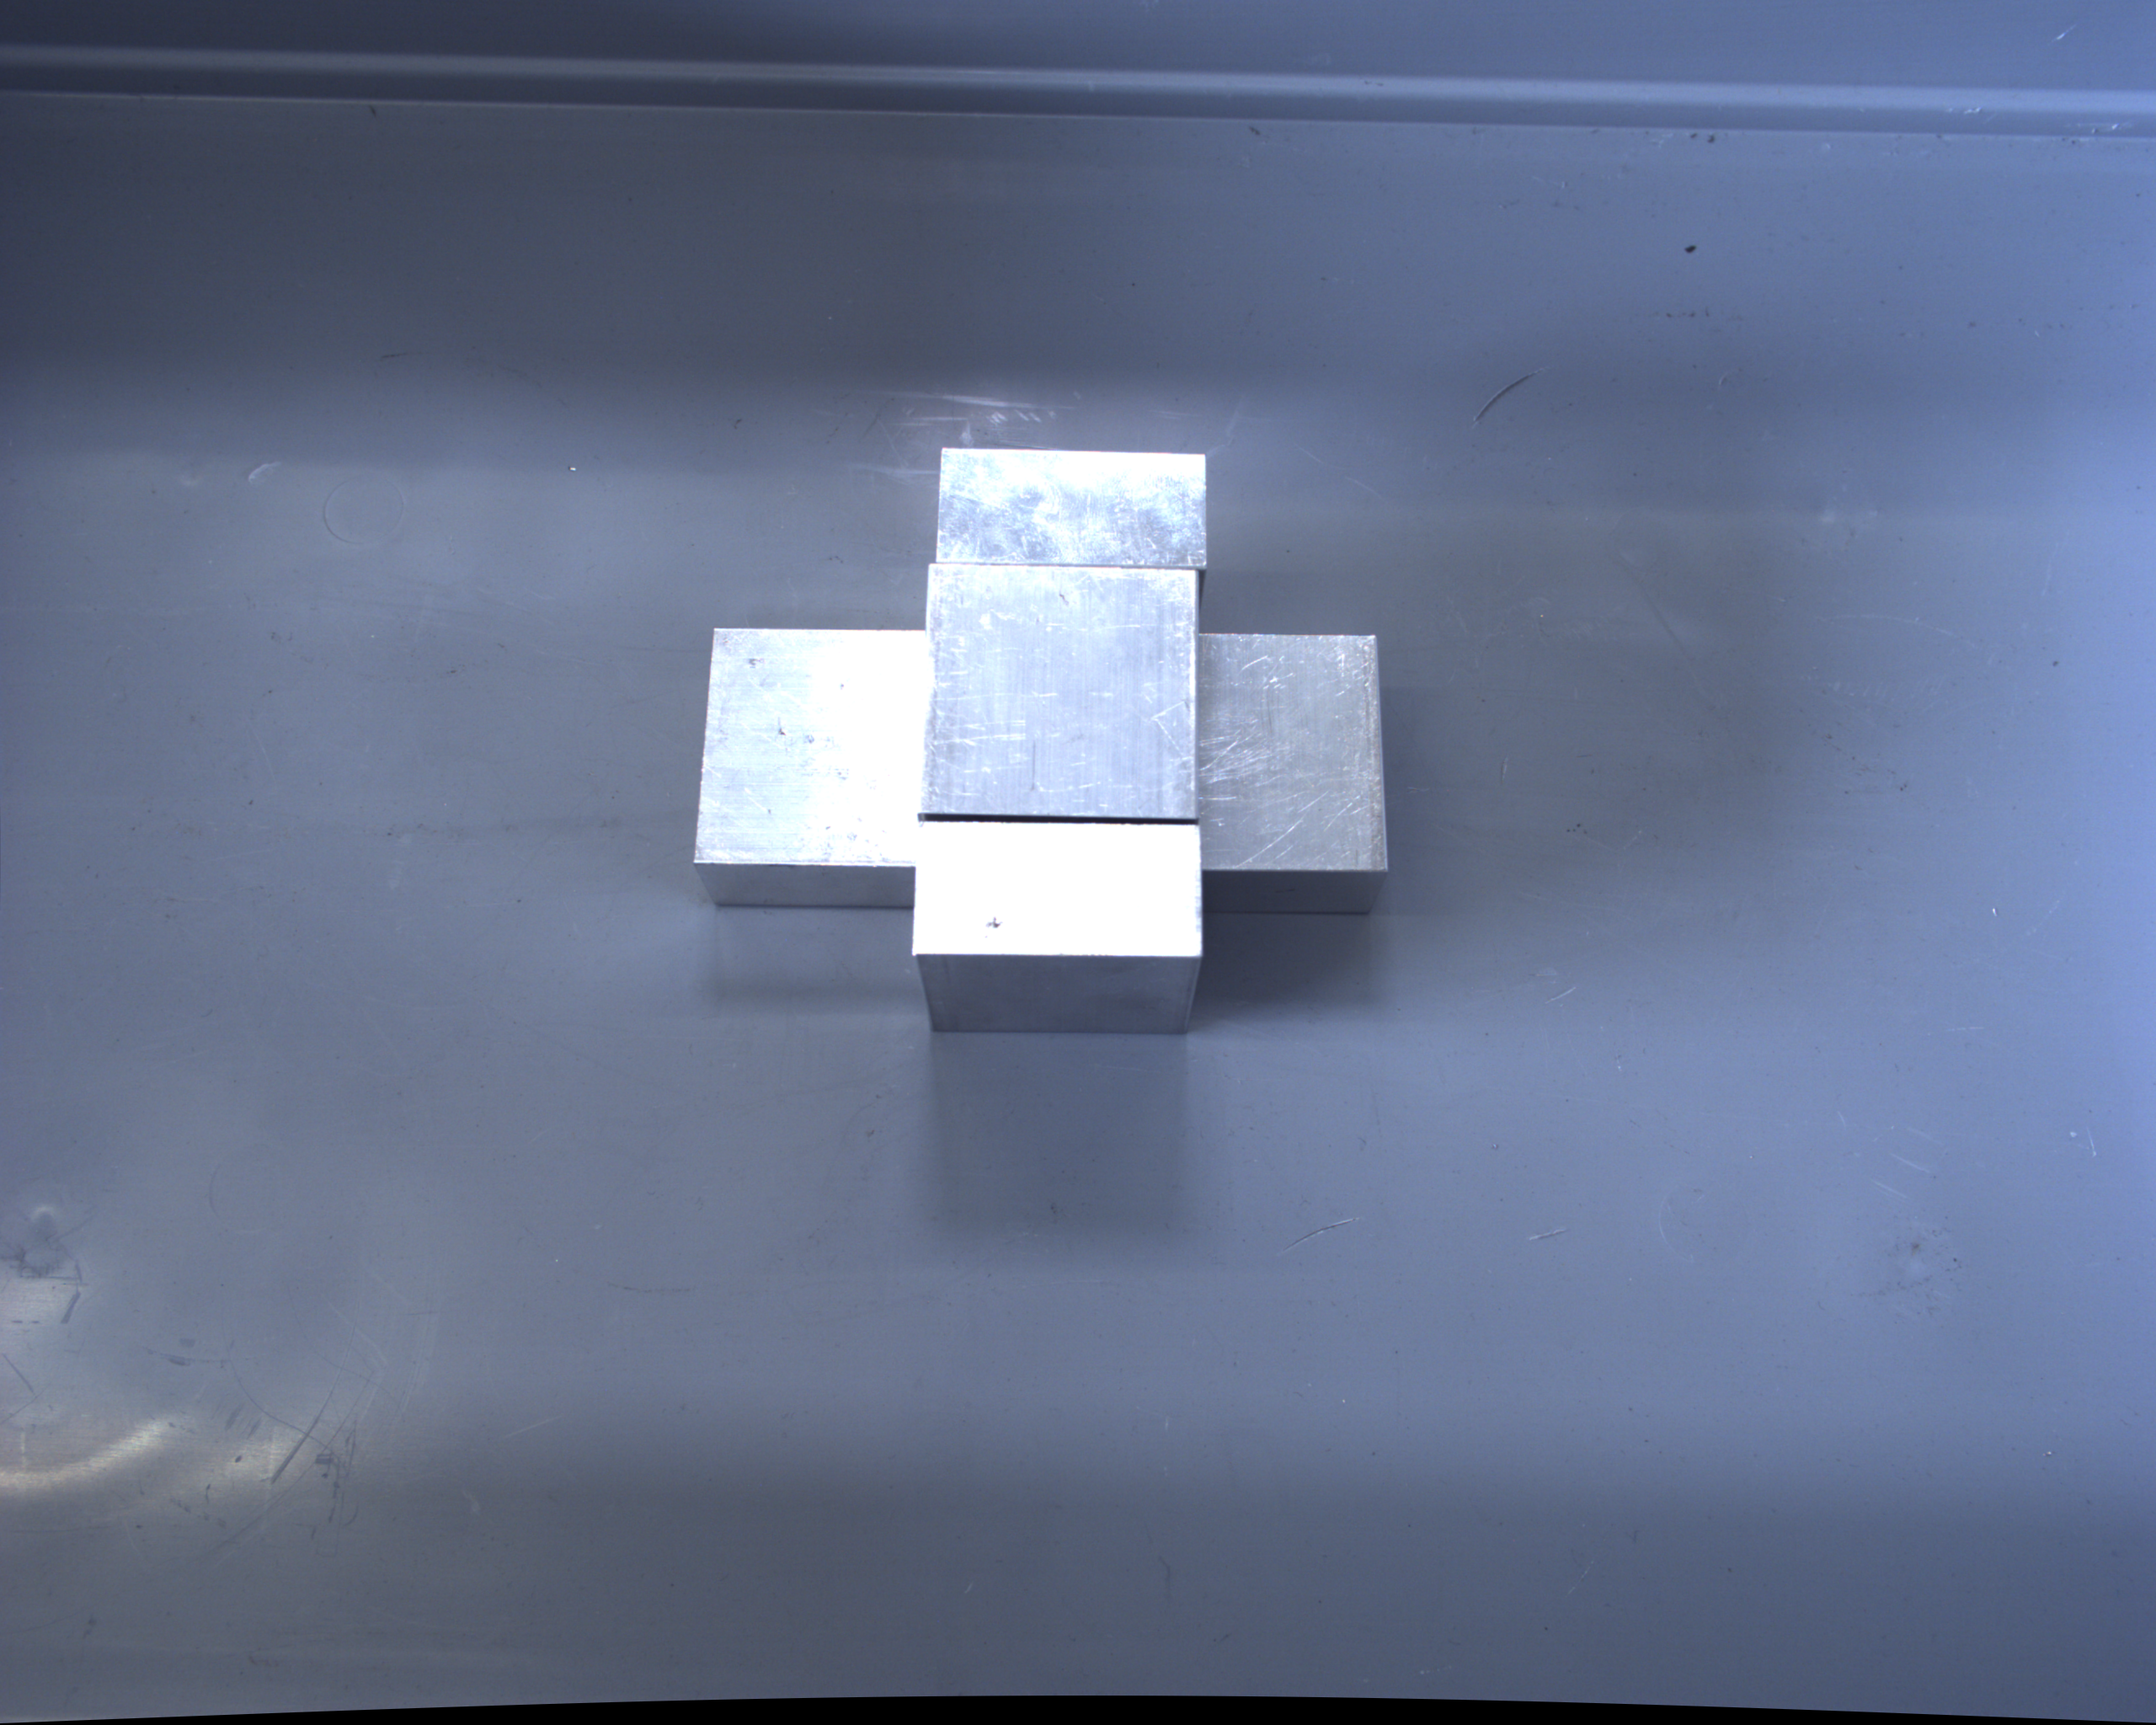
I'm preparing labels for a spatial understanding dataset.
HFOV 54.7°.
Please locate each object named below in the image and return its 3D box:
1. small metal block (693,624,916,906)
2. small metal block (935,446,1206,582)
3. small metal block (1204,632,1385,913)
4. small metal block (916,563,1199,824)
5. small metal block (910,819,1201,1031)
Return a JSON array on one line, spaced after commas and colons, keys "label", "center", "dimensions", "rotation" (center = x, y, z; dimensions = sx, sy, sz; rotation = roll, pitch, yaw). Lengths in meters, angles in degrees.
[{"label": "small metal block", "center": [-0.047, -0.019, 0.414], "dimensions": [0.050, 0.025, 0.050], "rotation": [1, 70, 0]}, {"label": "small metal block", "center": [-0.001, -0.059, 0.415], "dimensions": [0.050, 0.050, 0.025], "rotation": [1, 70, 0]}, {"label": "small metal block", "center": [0.033, -0.018, 0.414], "dimensions": [0.050, 0.025, 0.050], "rotation": [1, 70, 0]}, {"label": "small metal block", "center": [-0.003, -0.028, 0.390], "dimensions": [0.050, 0.025, 0.050], "rotation": [1, 70, 0]}, {"label": "small metal block", "center": [-0.004, 0.013, 0.388], "dimensions": [0.050, 0.050, 0.025], "rotation": [1, 70, 0]}]
